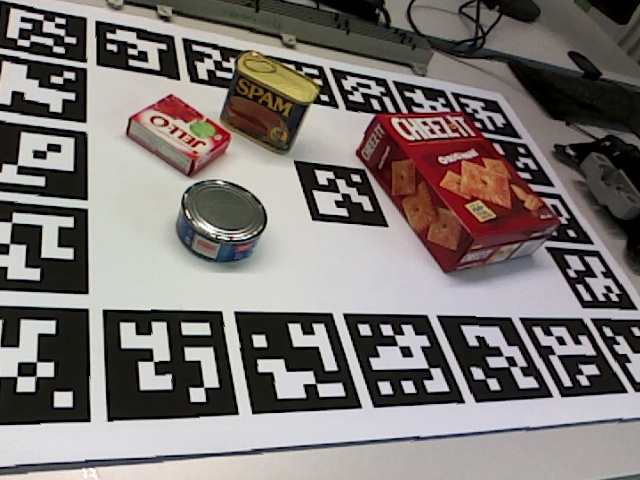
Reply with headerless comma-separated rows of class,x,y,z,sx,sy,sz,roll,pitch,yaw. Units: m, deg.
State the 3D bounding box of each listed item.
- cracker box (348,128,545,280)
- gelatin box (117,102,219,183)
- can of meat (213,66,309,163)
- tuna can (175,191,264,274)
cracker box,0.166,-0.058,0.812,0.163,0.072,0.215,-10,52,-38
gelatin box,-0.171,-0.113,0.705,0.089,0.030,0.073,35,38,3
can of meat,-0.076,-0.153,0.771,0.102,0.084,0.058,24,40,-3
tuna can,-0.103,-0.008,0.627,0.085,0.034,0.086,14,46,-16
